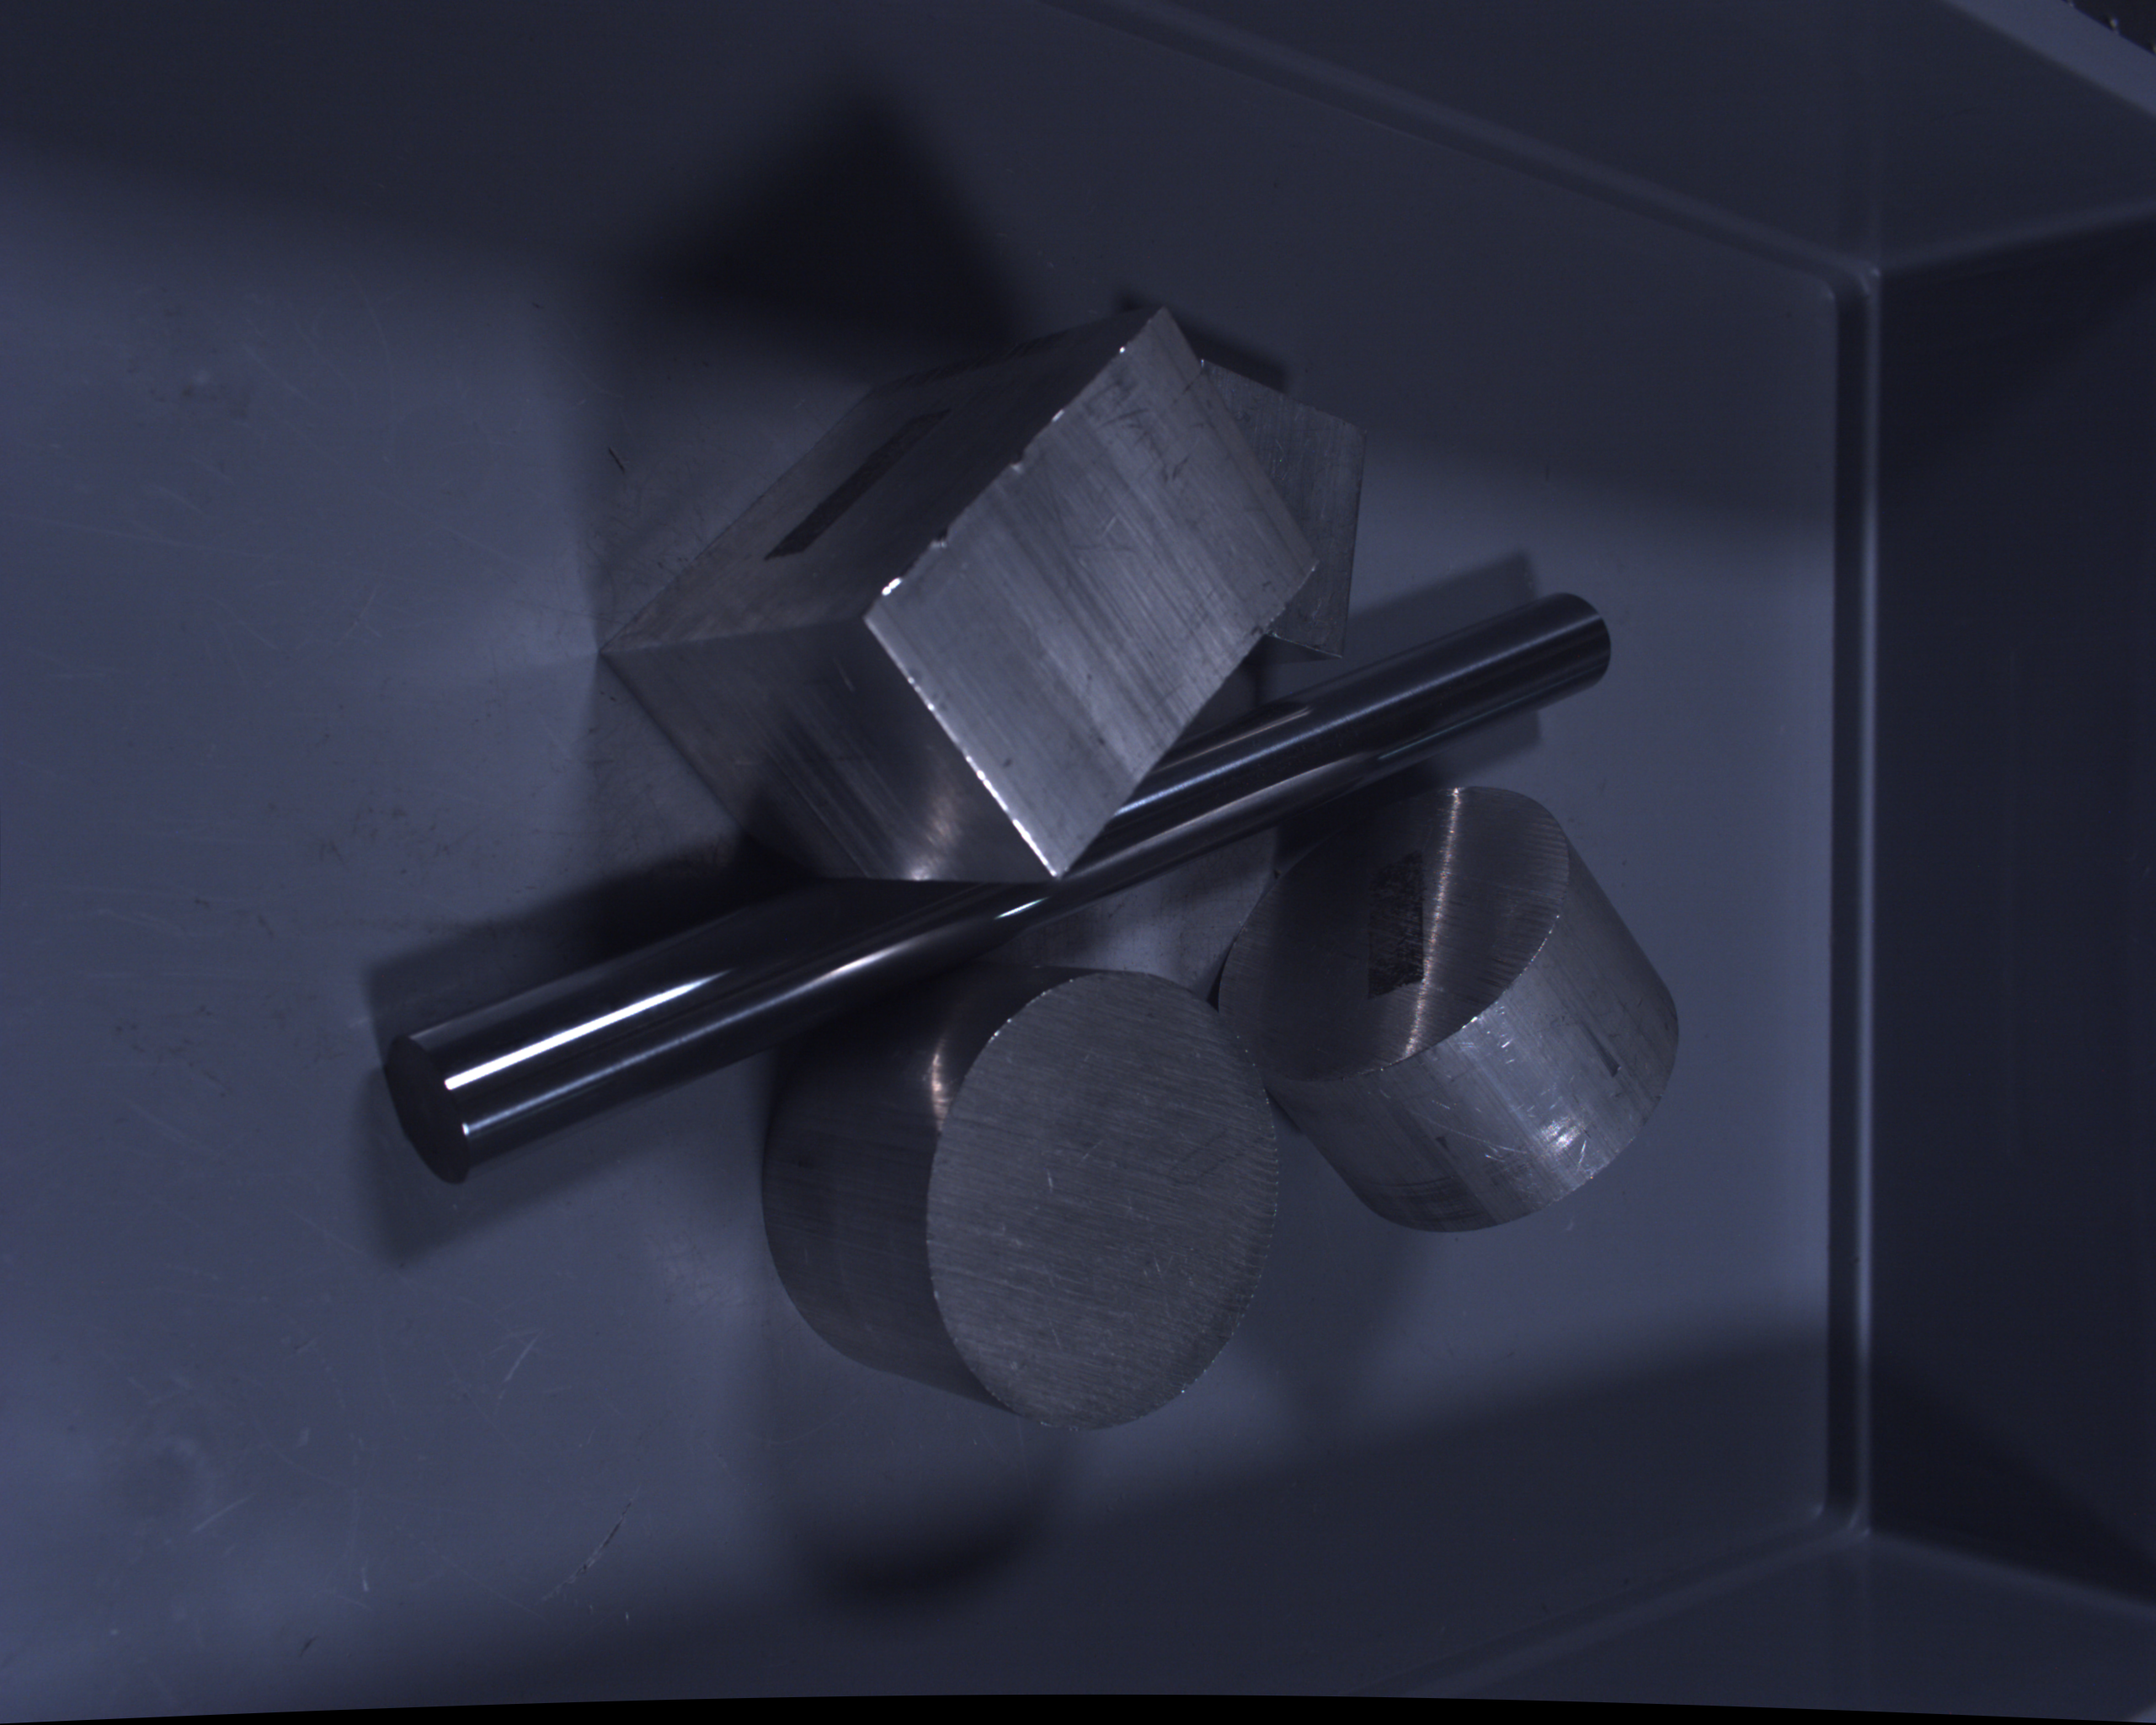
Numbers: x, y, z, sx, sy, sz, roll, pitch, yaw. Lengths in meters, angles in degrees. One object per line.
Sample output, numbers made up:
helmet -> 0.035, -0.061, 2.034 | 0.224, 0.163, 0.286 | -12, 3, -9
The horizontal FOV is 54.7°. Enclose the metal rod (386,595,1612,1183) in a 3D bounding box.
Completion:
metal rod -> 0.009, -0.008, 0.415 | 0.302, 0.025, 0.025 | -23, 105, -38

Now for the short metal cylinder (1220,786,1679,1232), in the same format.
short metal cylinder -> 0.077, 0.030, 0.437 | 0.050, 0.080, 0.080 | 51, 60, -29

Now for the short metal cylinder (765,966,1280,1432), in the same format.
short metal cylinder -> -0.009, 0.059, 0.382 | 0.081, 0.050, 0.079 | 0, 90, -40

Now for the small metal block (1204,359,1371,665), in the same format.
small metal block -> 0.032, -0.071, 0.433 | 0.050, 0.025, 0.050 | 11, 83, -40

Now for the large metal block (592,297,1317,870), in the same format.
large metal block -> -0.021, -0.045, 0.354 | 0.080, 0.080, 0.050 | -51, 121, -28
